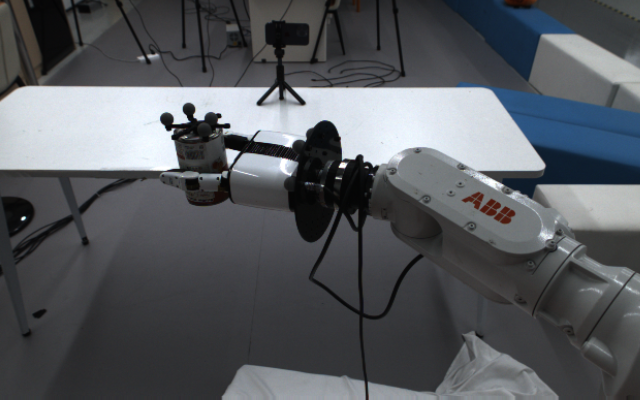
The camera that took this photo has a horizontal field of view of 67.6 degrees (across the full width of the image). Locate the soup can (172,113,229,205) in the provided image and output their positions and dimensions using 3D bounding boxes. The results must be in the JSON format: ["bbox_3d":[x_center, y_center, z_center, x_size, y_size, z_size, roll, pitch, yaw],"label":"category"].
[{"bbox_3d":[-0.163,-0.050,0.677,0.067,0.101,0.067,-1,32,1],"label":"soup can"}]
